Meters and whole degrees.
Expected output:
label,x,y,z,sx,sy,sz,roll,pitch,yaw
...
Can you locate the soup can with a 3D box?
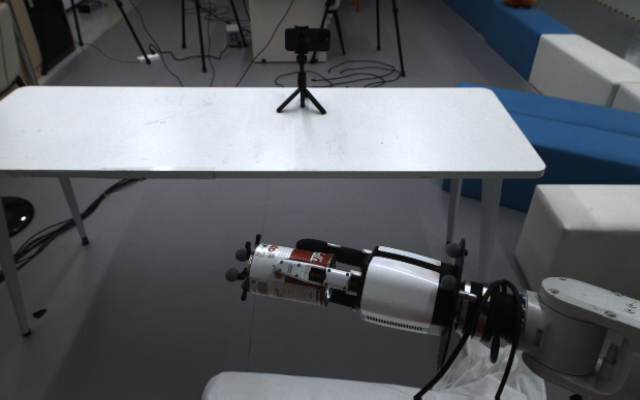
label,x,y,z,sx,sy,sz,roll,pitch,yaw
soup can,-0.033,0.096,0.622,0.101,0.067,0.067,7,35,10
